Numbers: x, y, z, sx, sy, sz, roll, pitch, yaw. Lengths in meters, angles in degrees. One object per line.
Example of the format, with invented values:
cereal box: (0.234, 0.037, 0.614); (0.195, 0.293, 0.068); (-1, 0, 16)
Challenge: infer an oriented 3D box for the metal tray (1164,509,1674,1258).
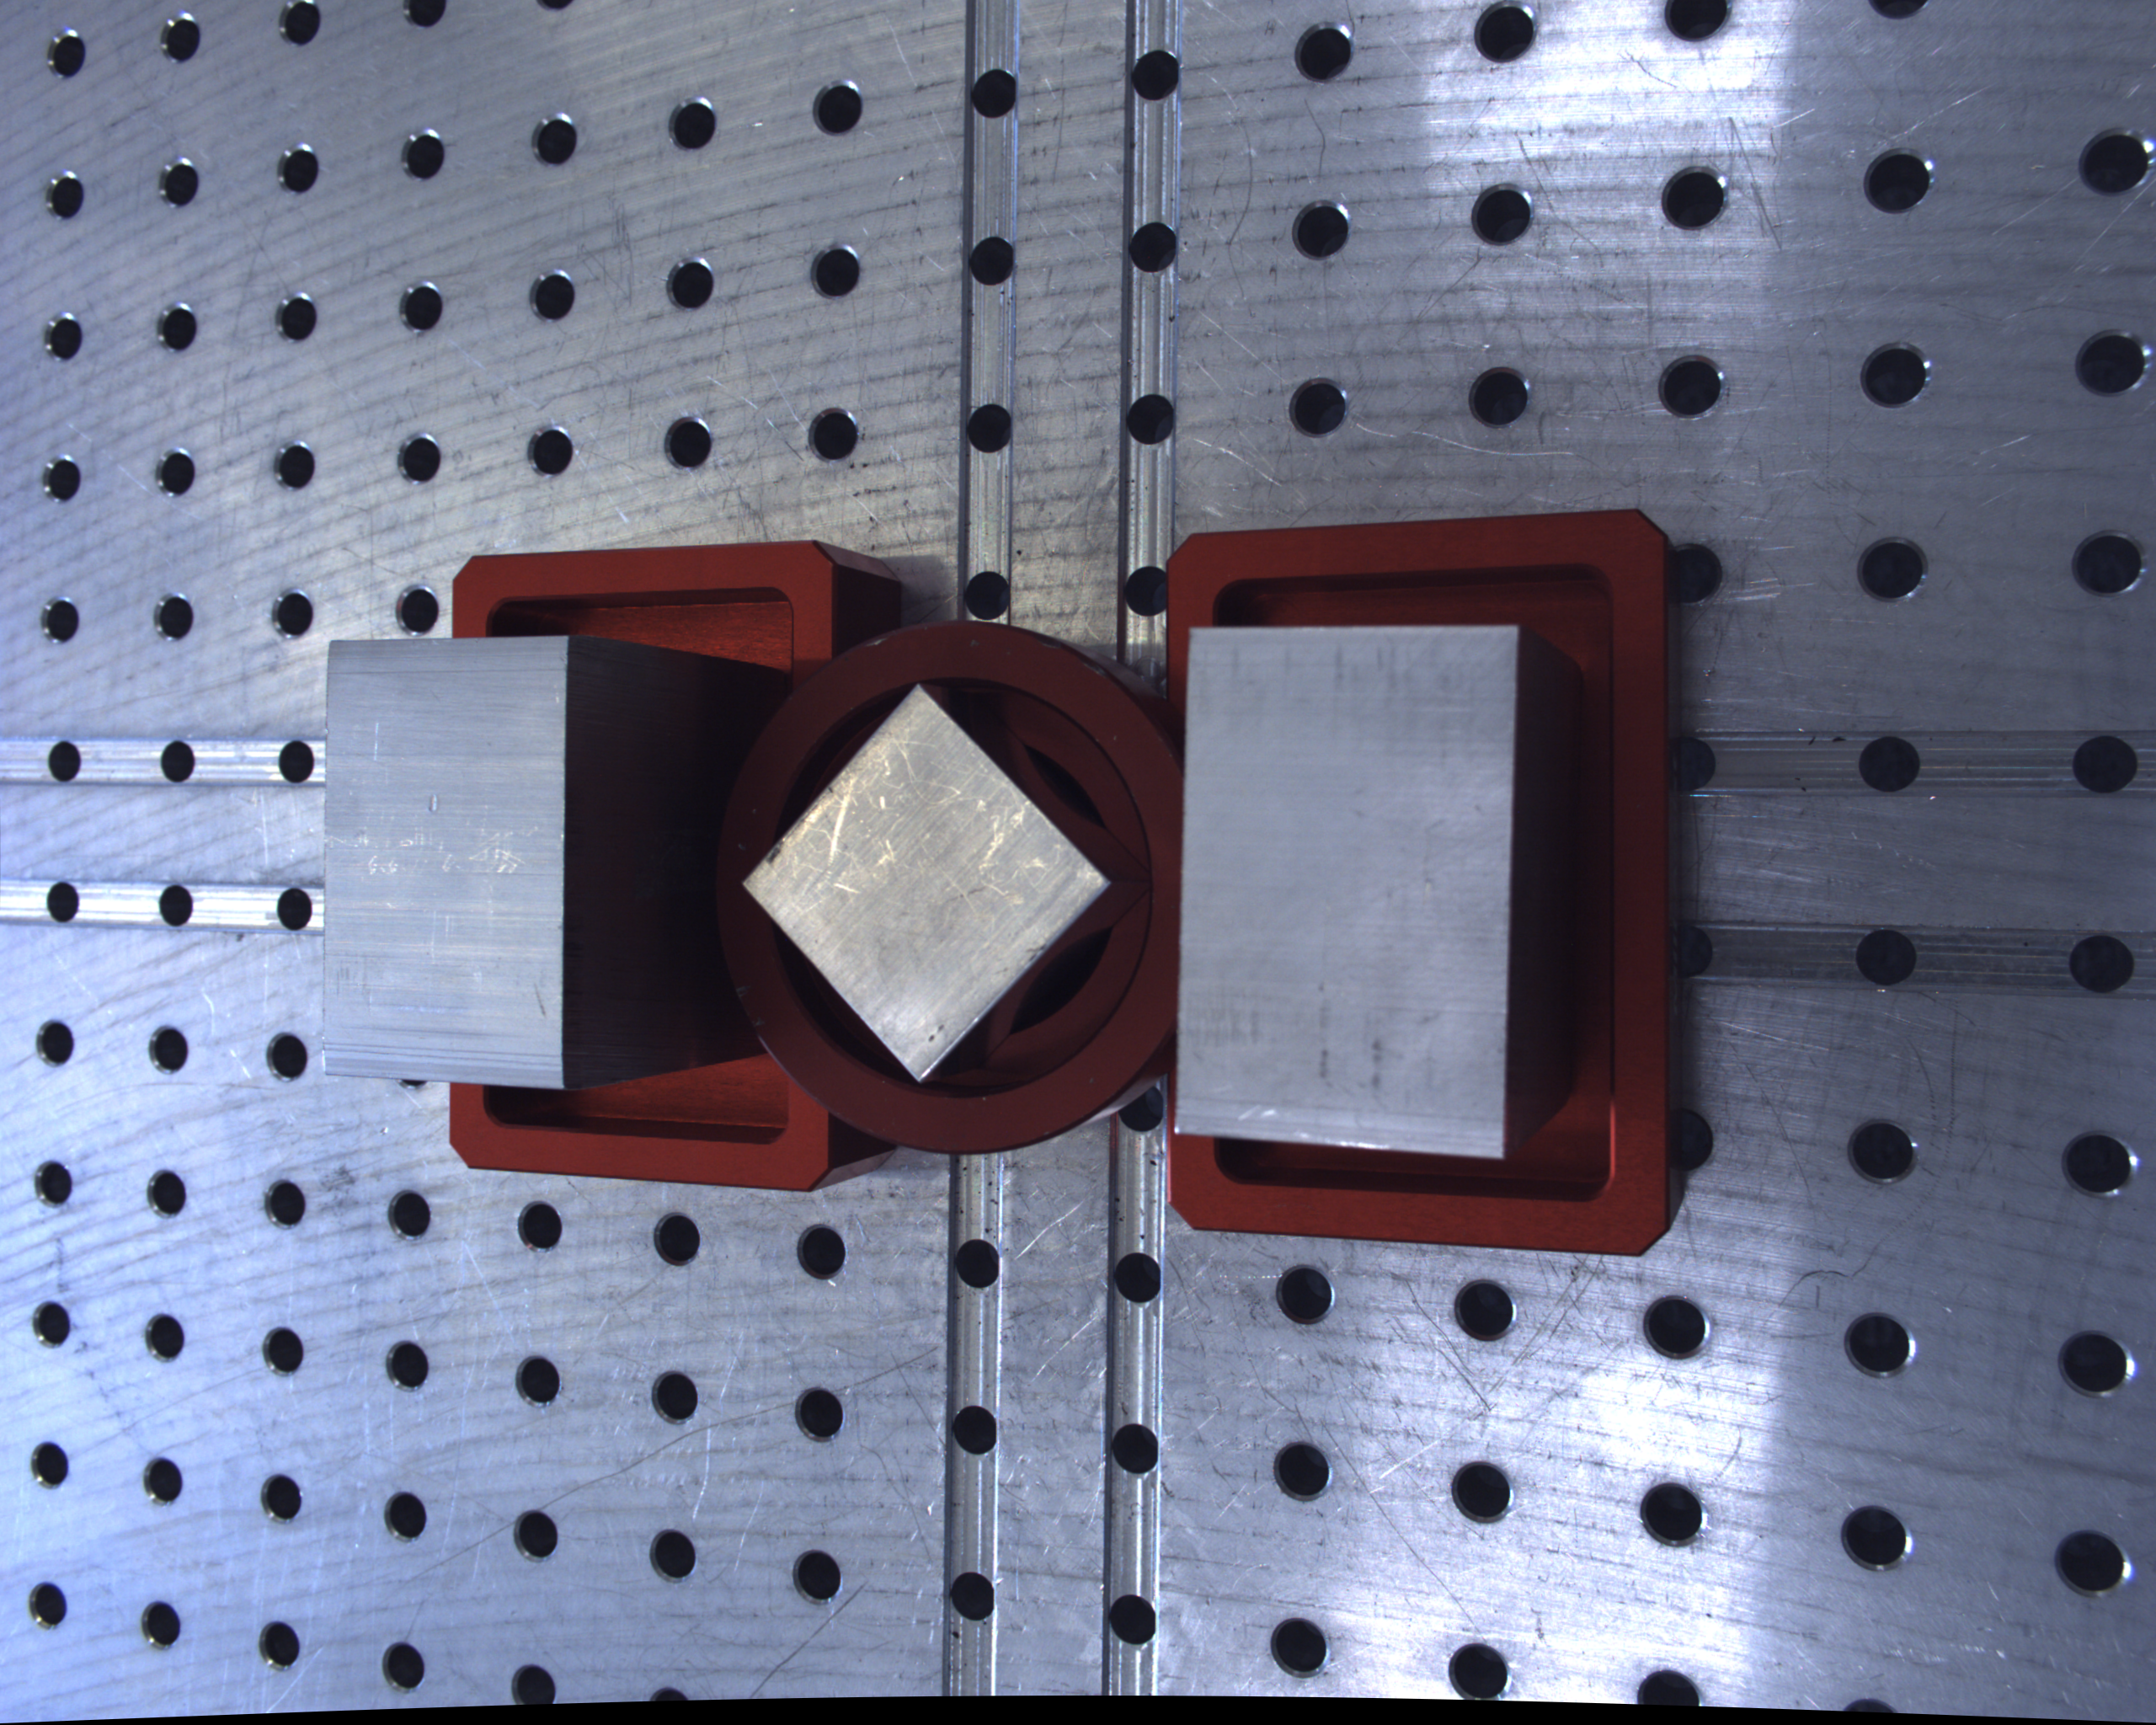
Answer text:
metal tray: (0.063, 0.004, 0.387); (0.090, 0.030, 0.129); (0, 90, 20)

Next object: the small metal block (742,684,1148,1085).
small metal block: (-0.023, 0.004, 0.377); (0.050, 0.025, 0.050); (46, 104, 14)

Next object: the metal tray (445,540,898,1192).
metal tray: (-0.086, 0.000, 0.439); (0.090, 0.030, 0.129); (1, 90, 20)

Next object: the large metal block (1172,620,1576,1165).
large metal block: (0.053, 0.003, 0.350); (0.050, 0.080, 0.080); (2, 91, 20)

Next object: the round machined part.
round machined part: (-0.016, 0.005, 0.400); (0.098, 0.042, 0.097); (0, 90, 20)

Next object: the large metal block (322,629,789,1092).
large metal block: (-0.098, -0.001, 0.404); (0.050, 0.080, 0.080); (1, 90, 20)
